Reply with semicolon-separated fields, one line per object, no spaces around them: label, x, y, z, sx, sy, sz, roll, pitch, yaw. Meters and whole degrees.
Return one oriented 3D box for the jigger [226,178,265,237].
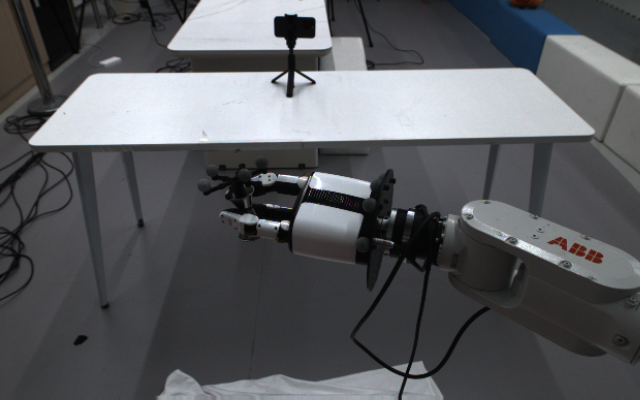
jigger;-0.100;0.017;0.663;0.043;0.071;0.043;-10;32;6
